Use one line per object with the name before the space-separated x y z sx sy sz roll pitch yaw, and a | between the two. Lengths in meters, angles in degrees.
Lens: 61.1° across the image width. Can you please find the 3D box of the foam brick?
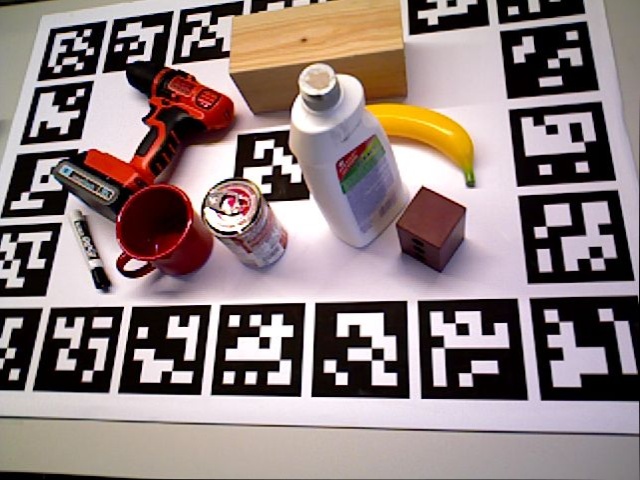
foam brick | 0.119 -0.002 0.557 0.053 0.079 0.051 32 75 24

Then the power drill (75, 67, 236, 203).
power drill | -0.225 -0.127 0.700 0.184 0.058 0.185 27 75 18

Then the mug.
mug | -0.187 -0.002 0.621 0.117 0.082 0.093 -46 68 -5

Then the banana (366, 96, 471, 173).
banana | 0.084 -0.132 0.633 0.197 0.039 0.074 14 85 15

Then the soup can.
soup can | -0.083 -0.016 0.587 0.068 0.103 0.067 -4 63 8

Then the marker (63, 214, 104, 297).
marker | -0.294 0.019 0.676 0.019 0.020 0.120 -31 66 1

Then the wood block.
wood block | 0.005 -0.220 0.662 0.207 0.091 0.089 -3 68 11

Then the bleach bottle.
bleach bottle | 0.028 -0.077 0.510 0.068 0.253 0.101 27 73 21
